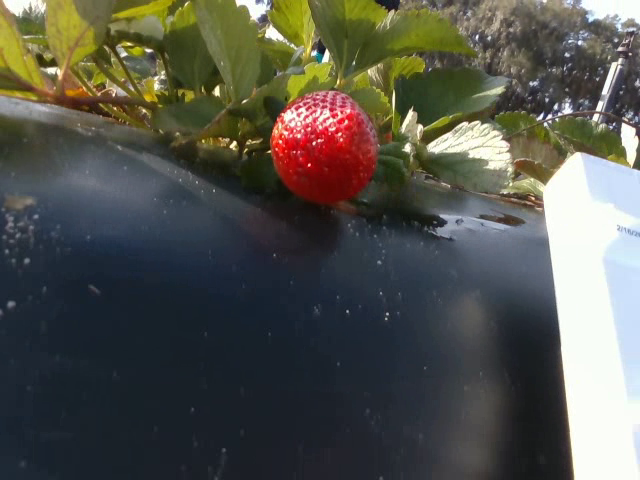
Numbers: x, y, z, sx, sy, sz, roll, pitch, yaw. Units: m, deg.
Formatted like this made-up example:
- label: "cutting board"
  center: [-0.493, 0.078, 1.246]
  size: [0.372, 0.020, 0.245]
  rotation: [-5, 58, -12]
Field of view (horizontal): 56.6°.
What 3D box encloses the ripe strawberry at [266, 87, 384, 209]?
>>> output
- label: "ripe strawberry"
  center: [0.005, -0.030, 0.170]
  size: [0.041, 0.041, 0.047]
  rotation: [-16, 4, -16]
